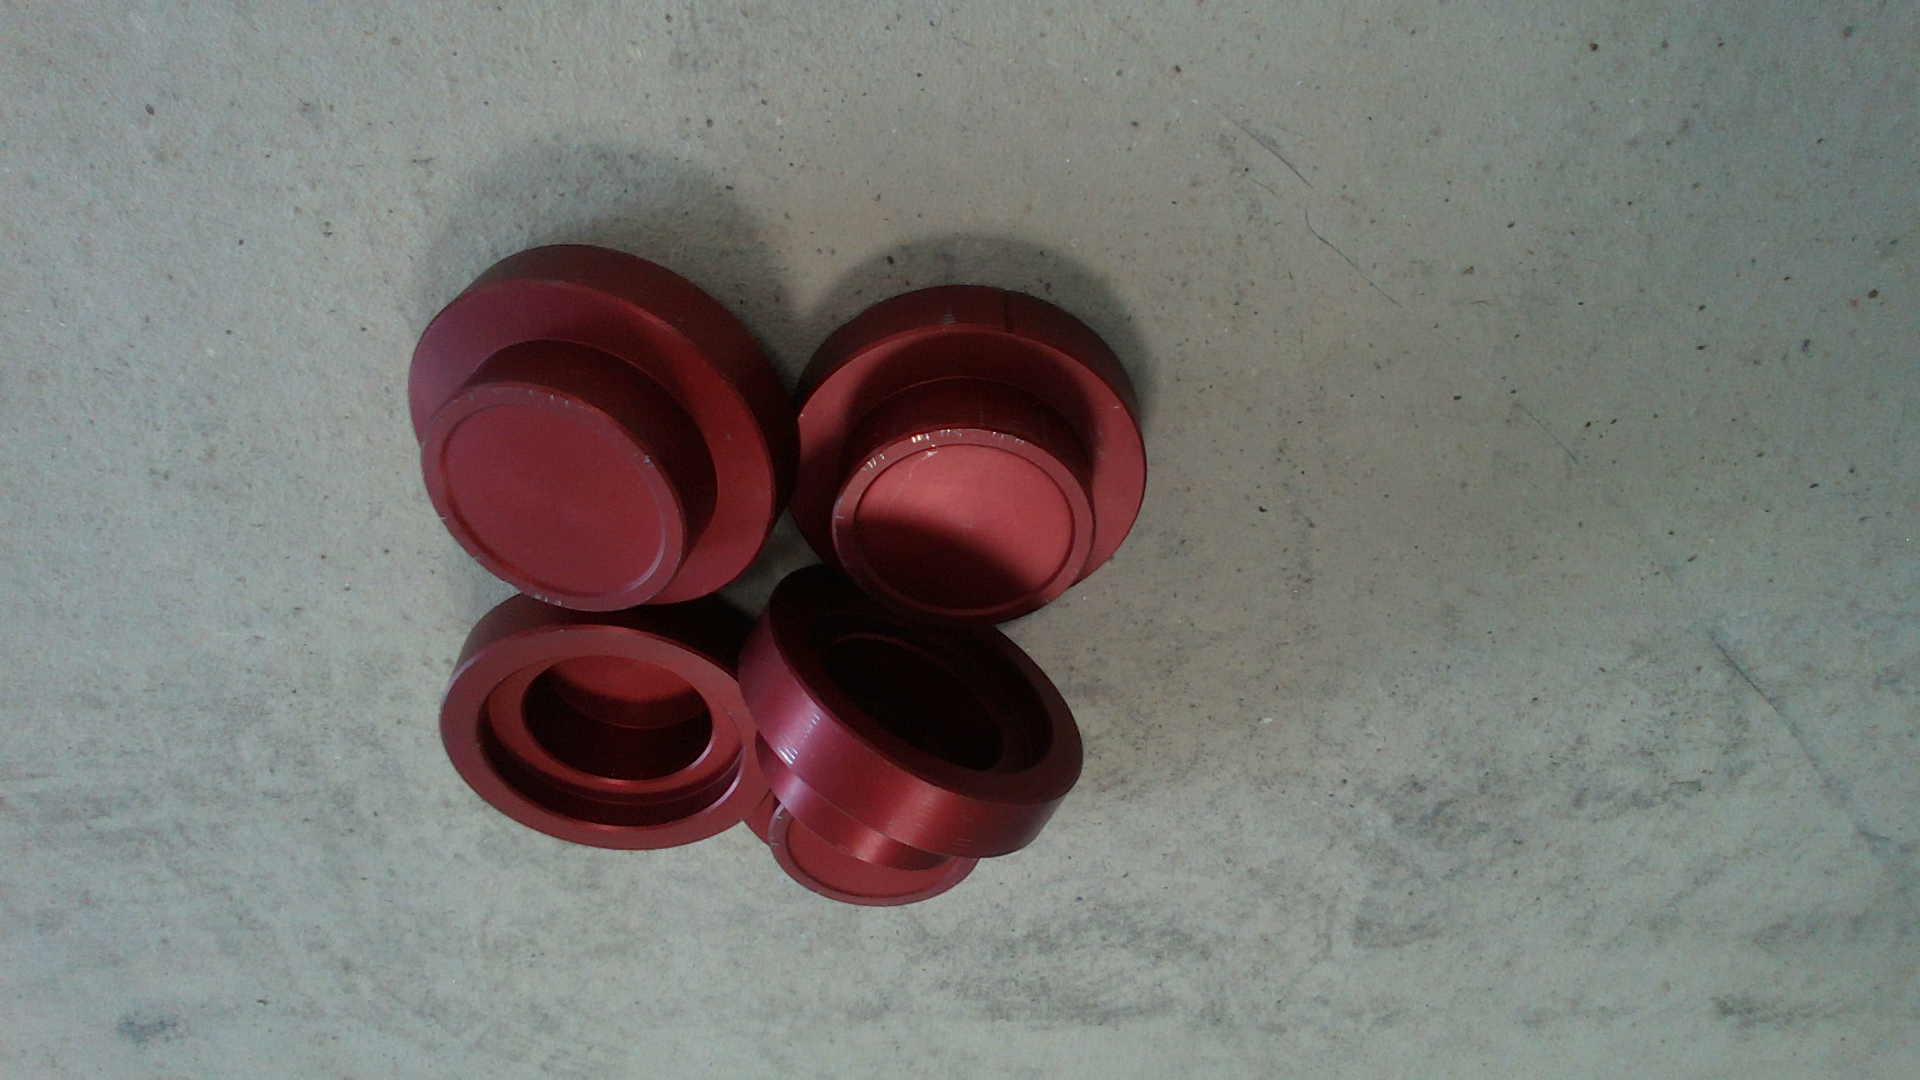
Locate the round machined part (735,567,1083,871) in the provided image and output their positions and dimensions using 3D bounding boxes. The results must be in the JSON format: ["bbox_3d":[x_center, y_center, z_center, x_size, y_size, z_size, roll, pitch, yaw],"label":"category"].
[{"bbox_3d":[-0.018,0.053,0.384,0.098,0.098,0.042,23,113,-18],"label":"round machined part"}]

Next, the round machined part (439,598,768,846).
[{"bbox_3d":[-0.102,0.047,0.419,0.098,0.042,0.098,0,132,0],"label":"round machined part"}]

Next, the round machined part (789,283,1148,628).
[{"bbox_3d":[0.001,-0.015,0.366,0.098,0.042,0.098,-1,129,-1],"label":"round machined part"}]

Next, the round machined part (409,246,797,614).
[{"bbox_3d":[-0.094,-0.020,0.348,0.098,0.042,0.098,8,129,11],"label":"round machined part"}]

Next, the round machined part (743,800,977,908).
[{"bbox_3d":[-0.026,0.082,0.449,0.098,0.042,0.098,-1,129,-1],"label":"round machined part"}]
